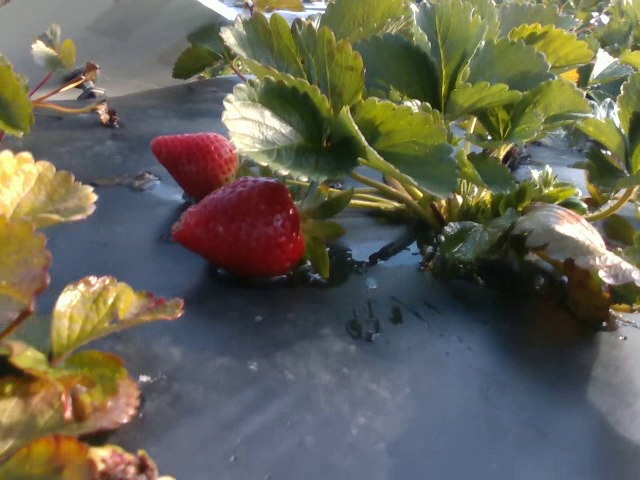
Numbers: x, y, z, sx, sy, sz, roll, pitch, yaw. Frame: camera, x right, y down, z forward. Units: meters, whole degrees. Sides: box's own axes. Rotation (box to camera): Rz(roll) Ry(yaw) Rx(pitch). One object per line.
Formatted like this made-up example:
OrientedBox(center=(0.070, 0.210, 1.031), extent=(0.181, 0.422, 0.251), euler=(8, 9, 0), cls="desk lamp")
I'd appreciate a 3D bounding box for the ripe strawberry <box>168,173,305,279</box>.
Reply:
OrientedBox(center=(-0.039, -0.007, 0.268), extent=(0.065, 0.050, 0.049), euler=(-18, -11, -29), cls="ripe strawberry")
